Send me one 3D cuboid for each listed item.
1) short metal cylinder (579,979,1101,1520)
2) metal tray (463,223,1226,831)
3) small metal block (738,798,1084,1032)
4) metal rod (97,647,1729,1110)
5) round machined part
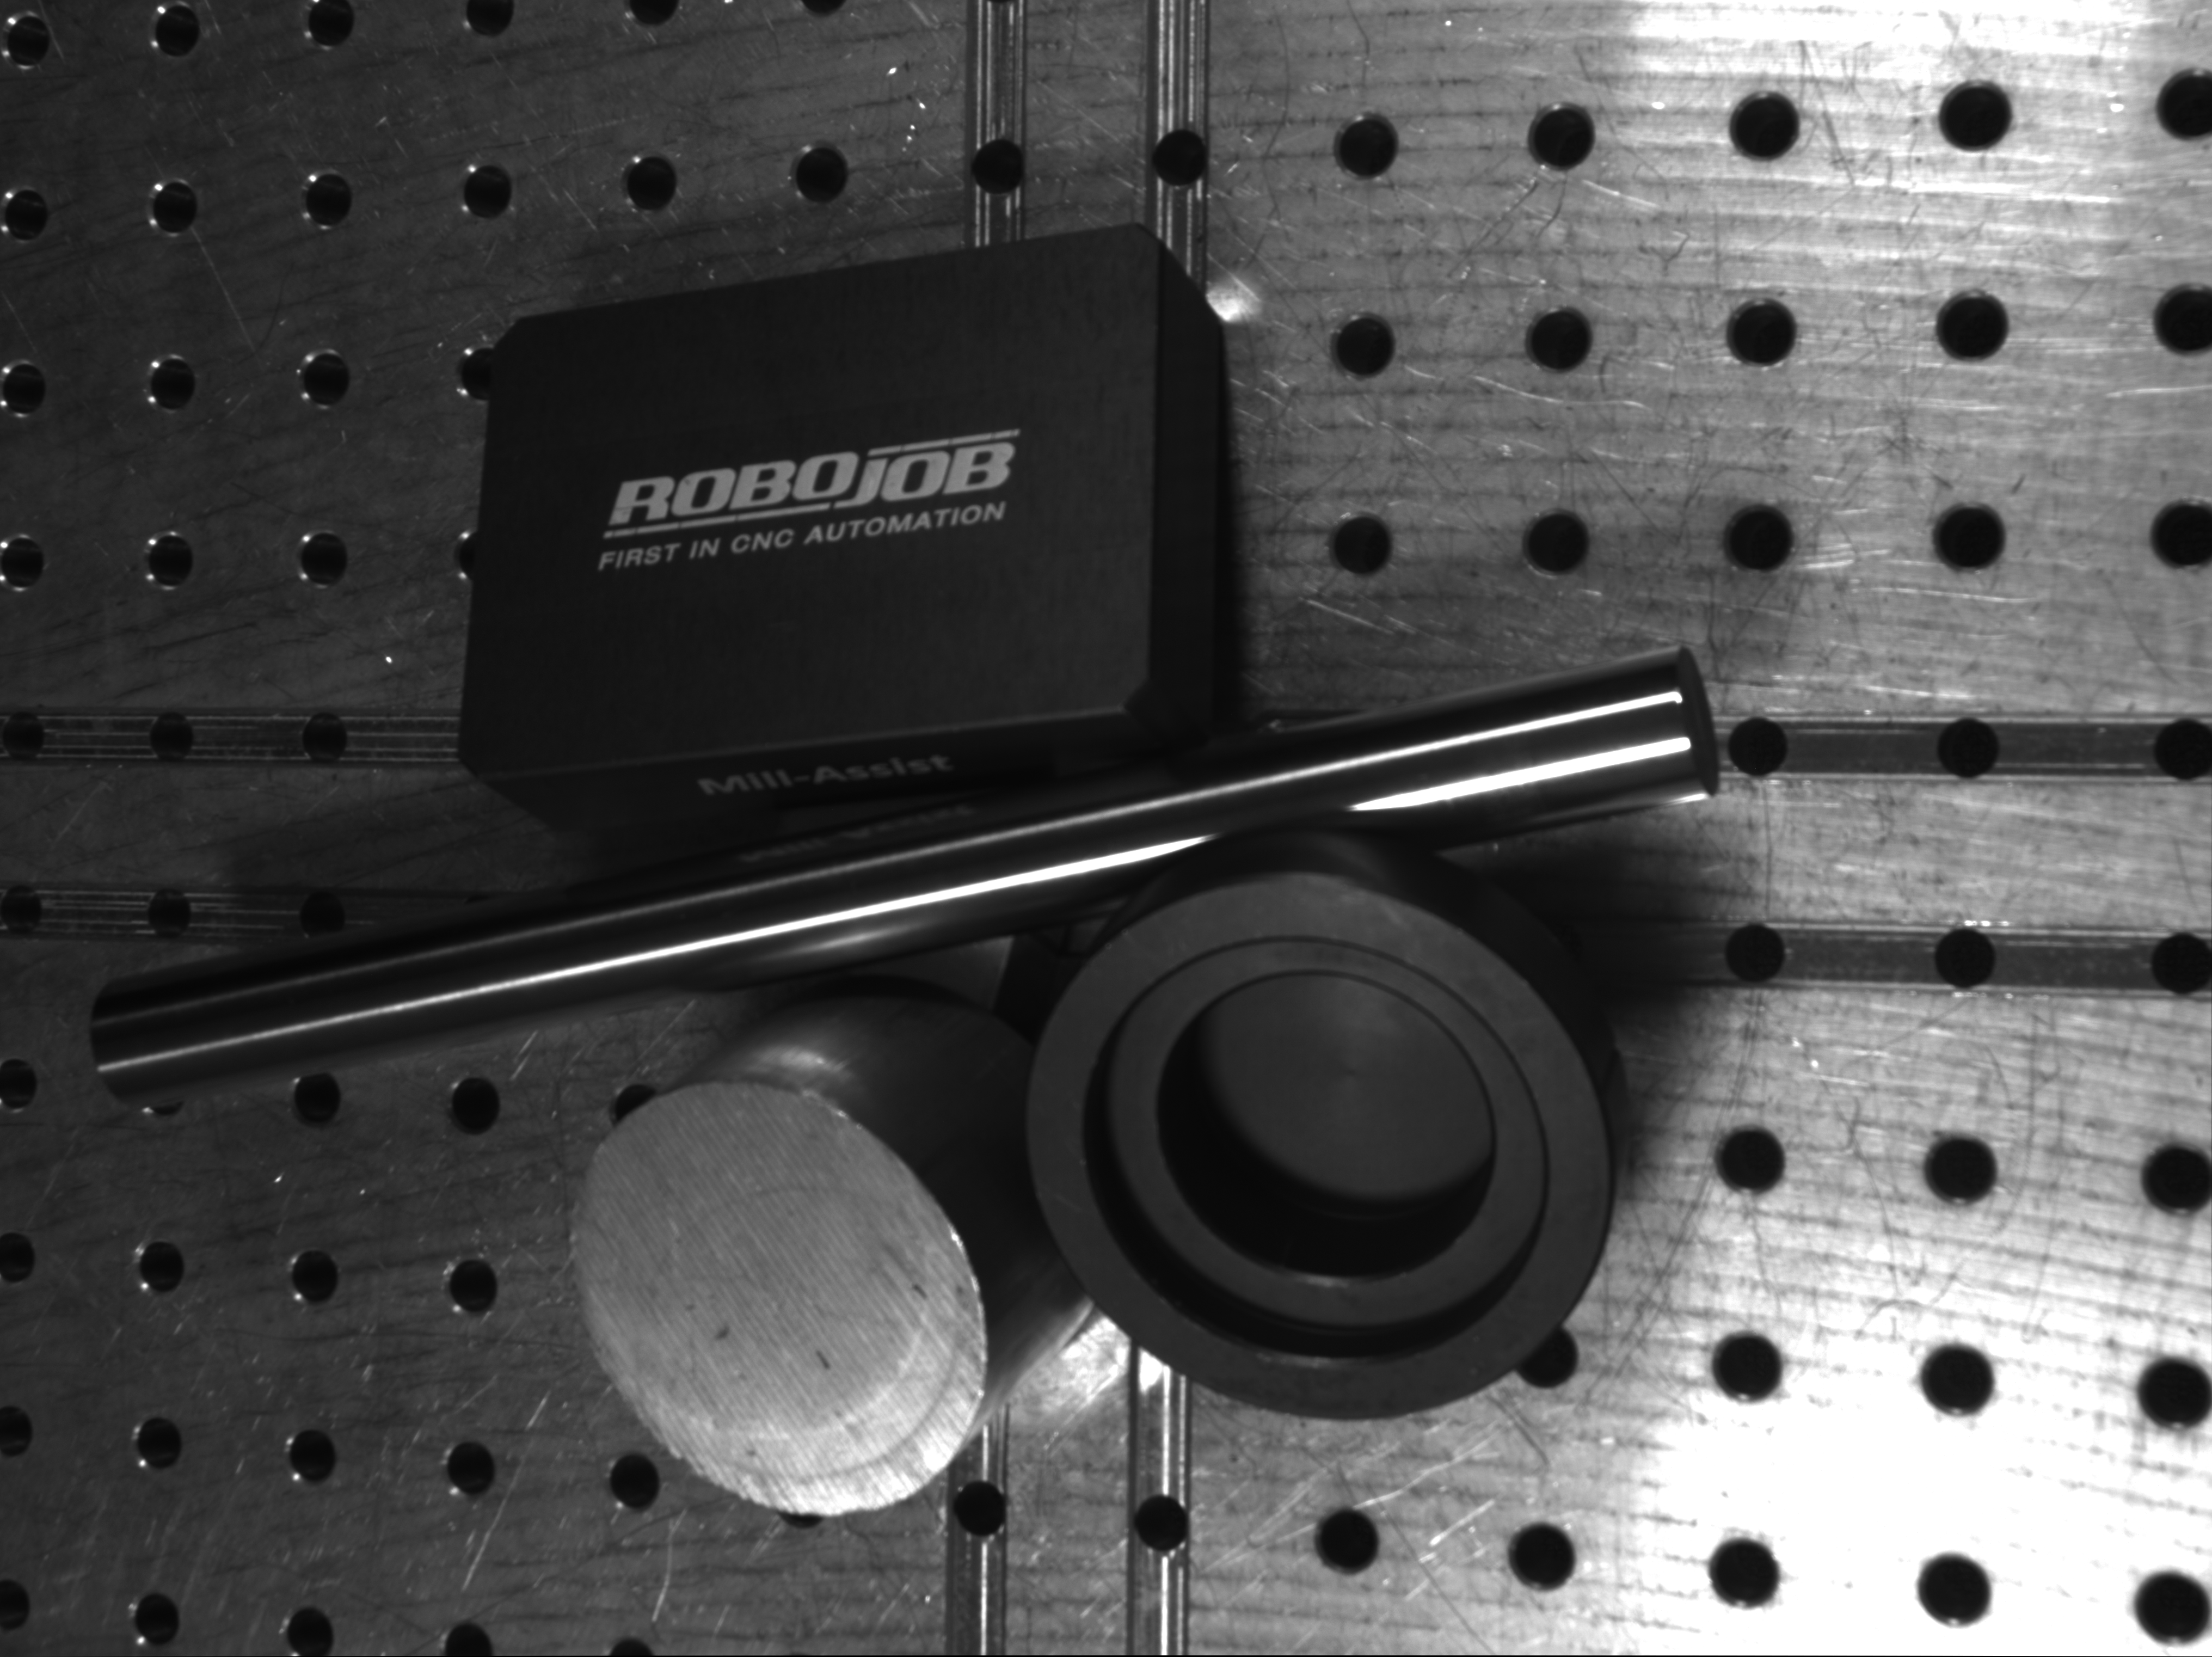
[{"bbox_3d":[-0.044,0.072,0.637,0.080,0.050,0.080,9,112,23],"label":"short metal cylinder"},{"bbox_3d":[-0.046,-0.052,0.646,0.130,0.030,0.090,-5,69,19],"label":"metal tray"},{"bbox_3d":[-0.033,0.020,0.668,0.050,0.025,0.050,19,96,19],"label":"small metal block"},{"bbox_3d":[-0.042,0.012,0.634,0.300,0.025,0.025,-12,86,19],"label":"metal rod"},{"bbox_3d":[0.040,0.046,0.611,0.098,0.042,0.098,6,113,13],"label":"round machined part"}]
